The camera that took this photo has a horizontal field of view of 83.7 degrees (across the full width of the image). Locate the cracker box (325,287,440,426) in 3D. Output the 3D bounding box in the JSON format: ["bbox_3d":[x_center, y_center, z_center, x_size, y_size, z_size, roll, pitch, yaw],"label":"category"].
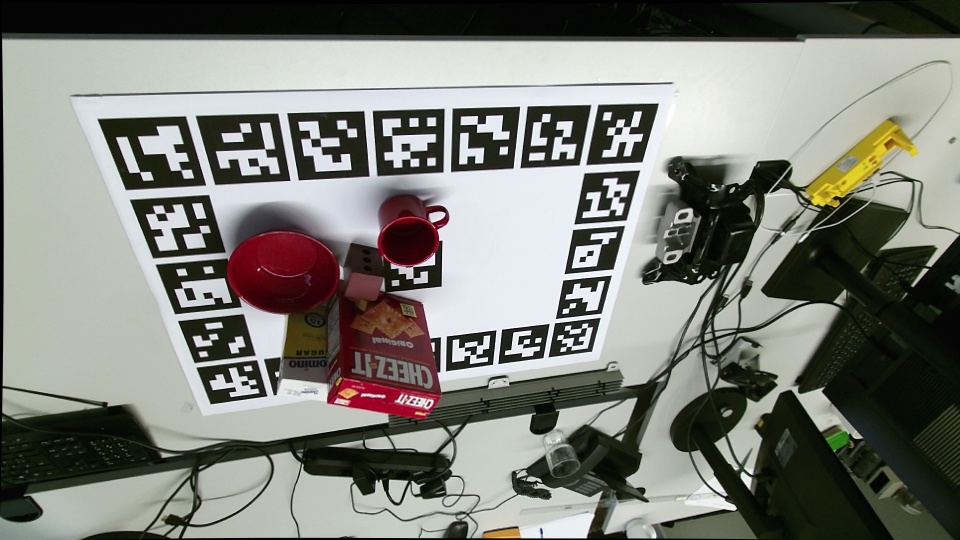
[{"bbox_3d":[-0.162,0.136,0.878,0.165,0.212,0.072,22,119,-29],"label":"cracker box"}]

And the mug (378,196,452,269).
[{"bbox_3d":[-0.100,-0.062,0.826,0.117,0.081,0.093,-13,137,-9],"label":"mug"}]

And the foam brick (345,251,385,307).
[{"bbox_3d":[-0.188,0.014,0.870,0.053,0.078,0.051,8,124,-23],"label":"foam brick"}]

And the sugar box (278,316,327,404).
[{"bbox_3d":[-0.275,0.146,0.874,0.093,0.175,0.045,13,121,-26],"label":"sugar box"}]

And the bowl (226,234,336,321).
[{"bbox_3d":[-0.305,0.002,0.821,0.162,0.055,0.162,-8,127,-11],"label":"bowl"}]
